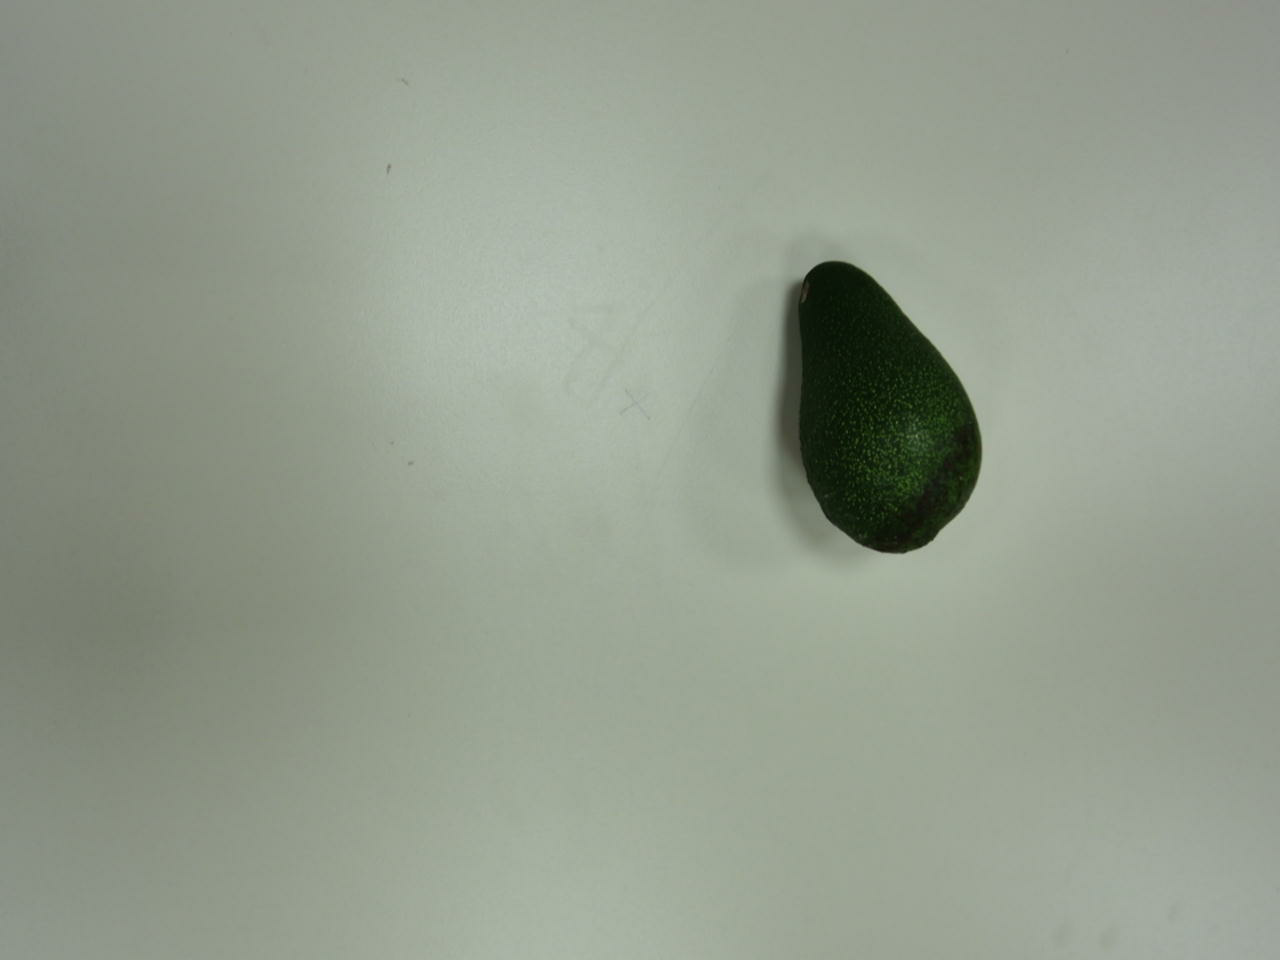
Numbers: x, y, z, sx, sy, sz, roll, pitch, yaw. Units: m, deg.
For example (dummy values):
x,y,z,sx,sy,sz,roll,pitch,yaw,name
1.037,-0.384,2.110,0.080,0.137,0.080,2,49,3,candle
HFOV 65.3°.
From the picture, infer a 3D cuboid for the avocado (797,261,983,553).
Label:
x,y,z,sx,sy,sz,roll,pitch,yaw,name
0.105,-0.031,0.418,0.074,0.076,0.123,5,89,-11,avocado
